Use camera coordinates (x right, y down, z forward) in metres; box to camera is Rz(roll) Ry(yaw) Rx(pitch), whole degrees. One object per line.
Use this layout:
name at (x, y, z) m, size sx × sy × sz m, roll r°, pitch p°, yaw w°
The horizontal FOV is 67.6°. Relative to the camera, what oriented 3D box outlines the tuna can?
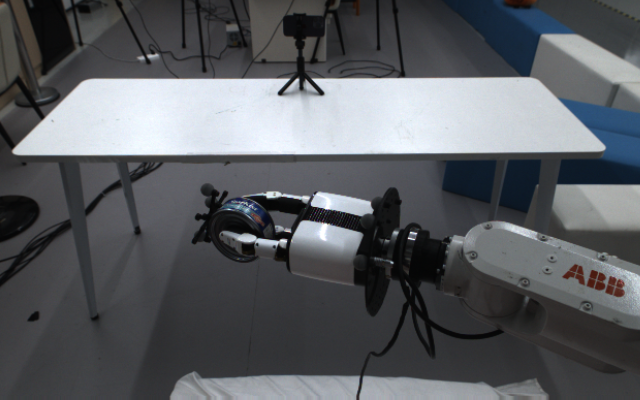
tuna can at (-0.103, 0.044, 0.646) m, size 0.085 × 0.085 × 0.034 m, roll 12°, pitch 30°, yaw 14°
